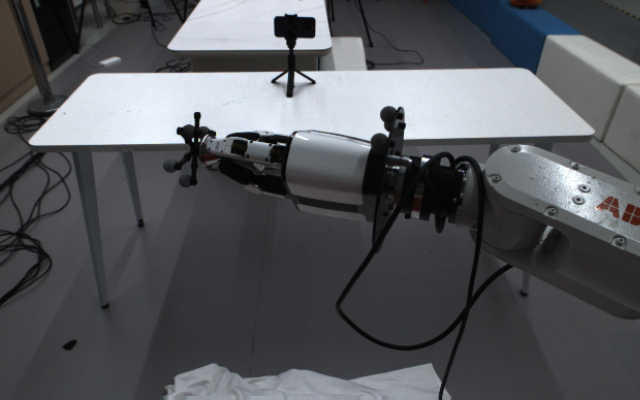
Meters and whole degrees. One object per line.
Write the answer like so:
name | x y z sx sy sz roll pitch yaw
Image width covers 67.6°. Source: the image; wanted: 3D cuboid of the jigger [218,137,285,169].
jigger | -0.095 -0.058 0.569 0.071 0.043 0.043 8 35 15
